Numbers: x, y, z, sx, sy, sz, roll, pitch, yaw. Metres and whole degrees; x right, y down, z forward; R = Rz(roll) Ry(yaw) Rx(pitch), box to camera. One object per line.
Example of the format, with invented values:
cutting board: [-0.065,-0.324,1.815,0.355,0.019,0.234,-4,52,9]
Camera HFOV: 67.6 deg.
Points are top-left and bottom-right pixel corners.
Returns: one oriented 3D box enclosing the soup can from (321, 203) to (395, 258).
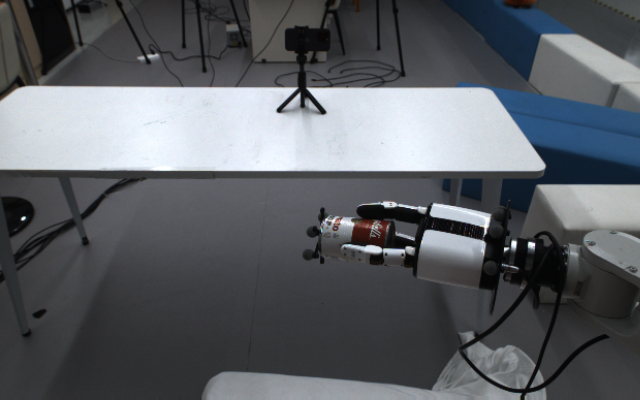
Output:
soup can: [0.059,0.060,0.722,0.101,0.067,0.067,4,34,18]
